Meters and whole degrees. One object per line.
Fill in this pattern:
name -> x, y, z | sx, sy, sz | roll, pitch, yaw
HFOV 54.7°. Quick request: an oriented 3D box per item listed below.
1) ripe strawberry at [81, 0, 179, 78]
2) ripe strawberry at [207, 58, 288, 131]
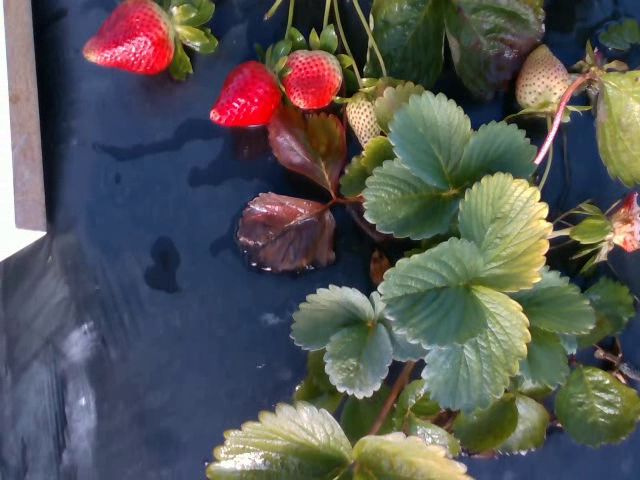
ripe strawberry -> -0.123, -0.129, 0.389 | 0.065, 0.050, 0.050 | -25, 48, -27
ripe strawberry -> -0.050, -0.085, 0.375 | 0.044, 0.042, 0.055 | 12, 41, 41
